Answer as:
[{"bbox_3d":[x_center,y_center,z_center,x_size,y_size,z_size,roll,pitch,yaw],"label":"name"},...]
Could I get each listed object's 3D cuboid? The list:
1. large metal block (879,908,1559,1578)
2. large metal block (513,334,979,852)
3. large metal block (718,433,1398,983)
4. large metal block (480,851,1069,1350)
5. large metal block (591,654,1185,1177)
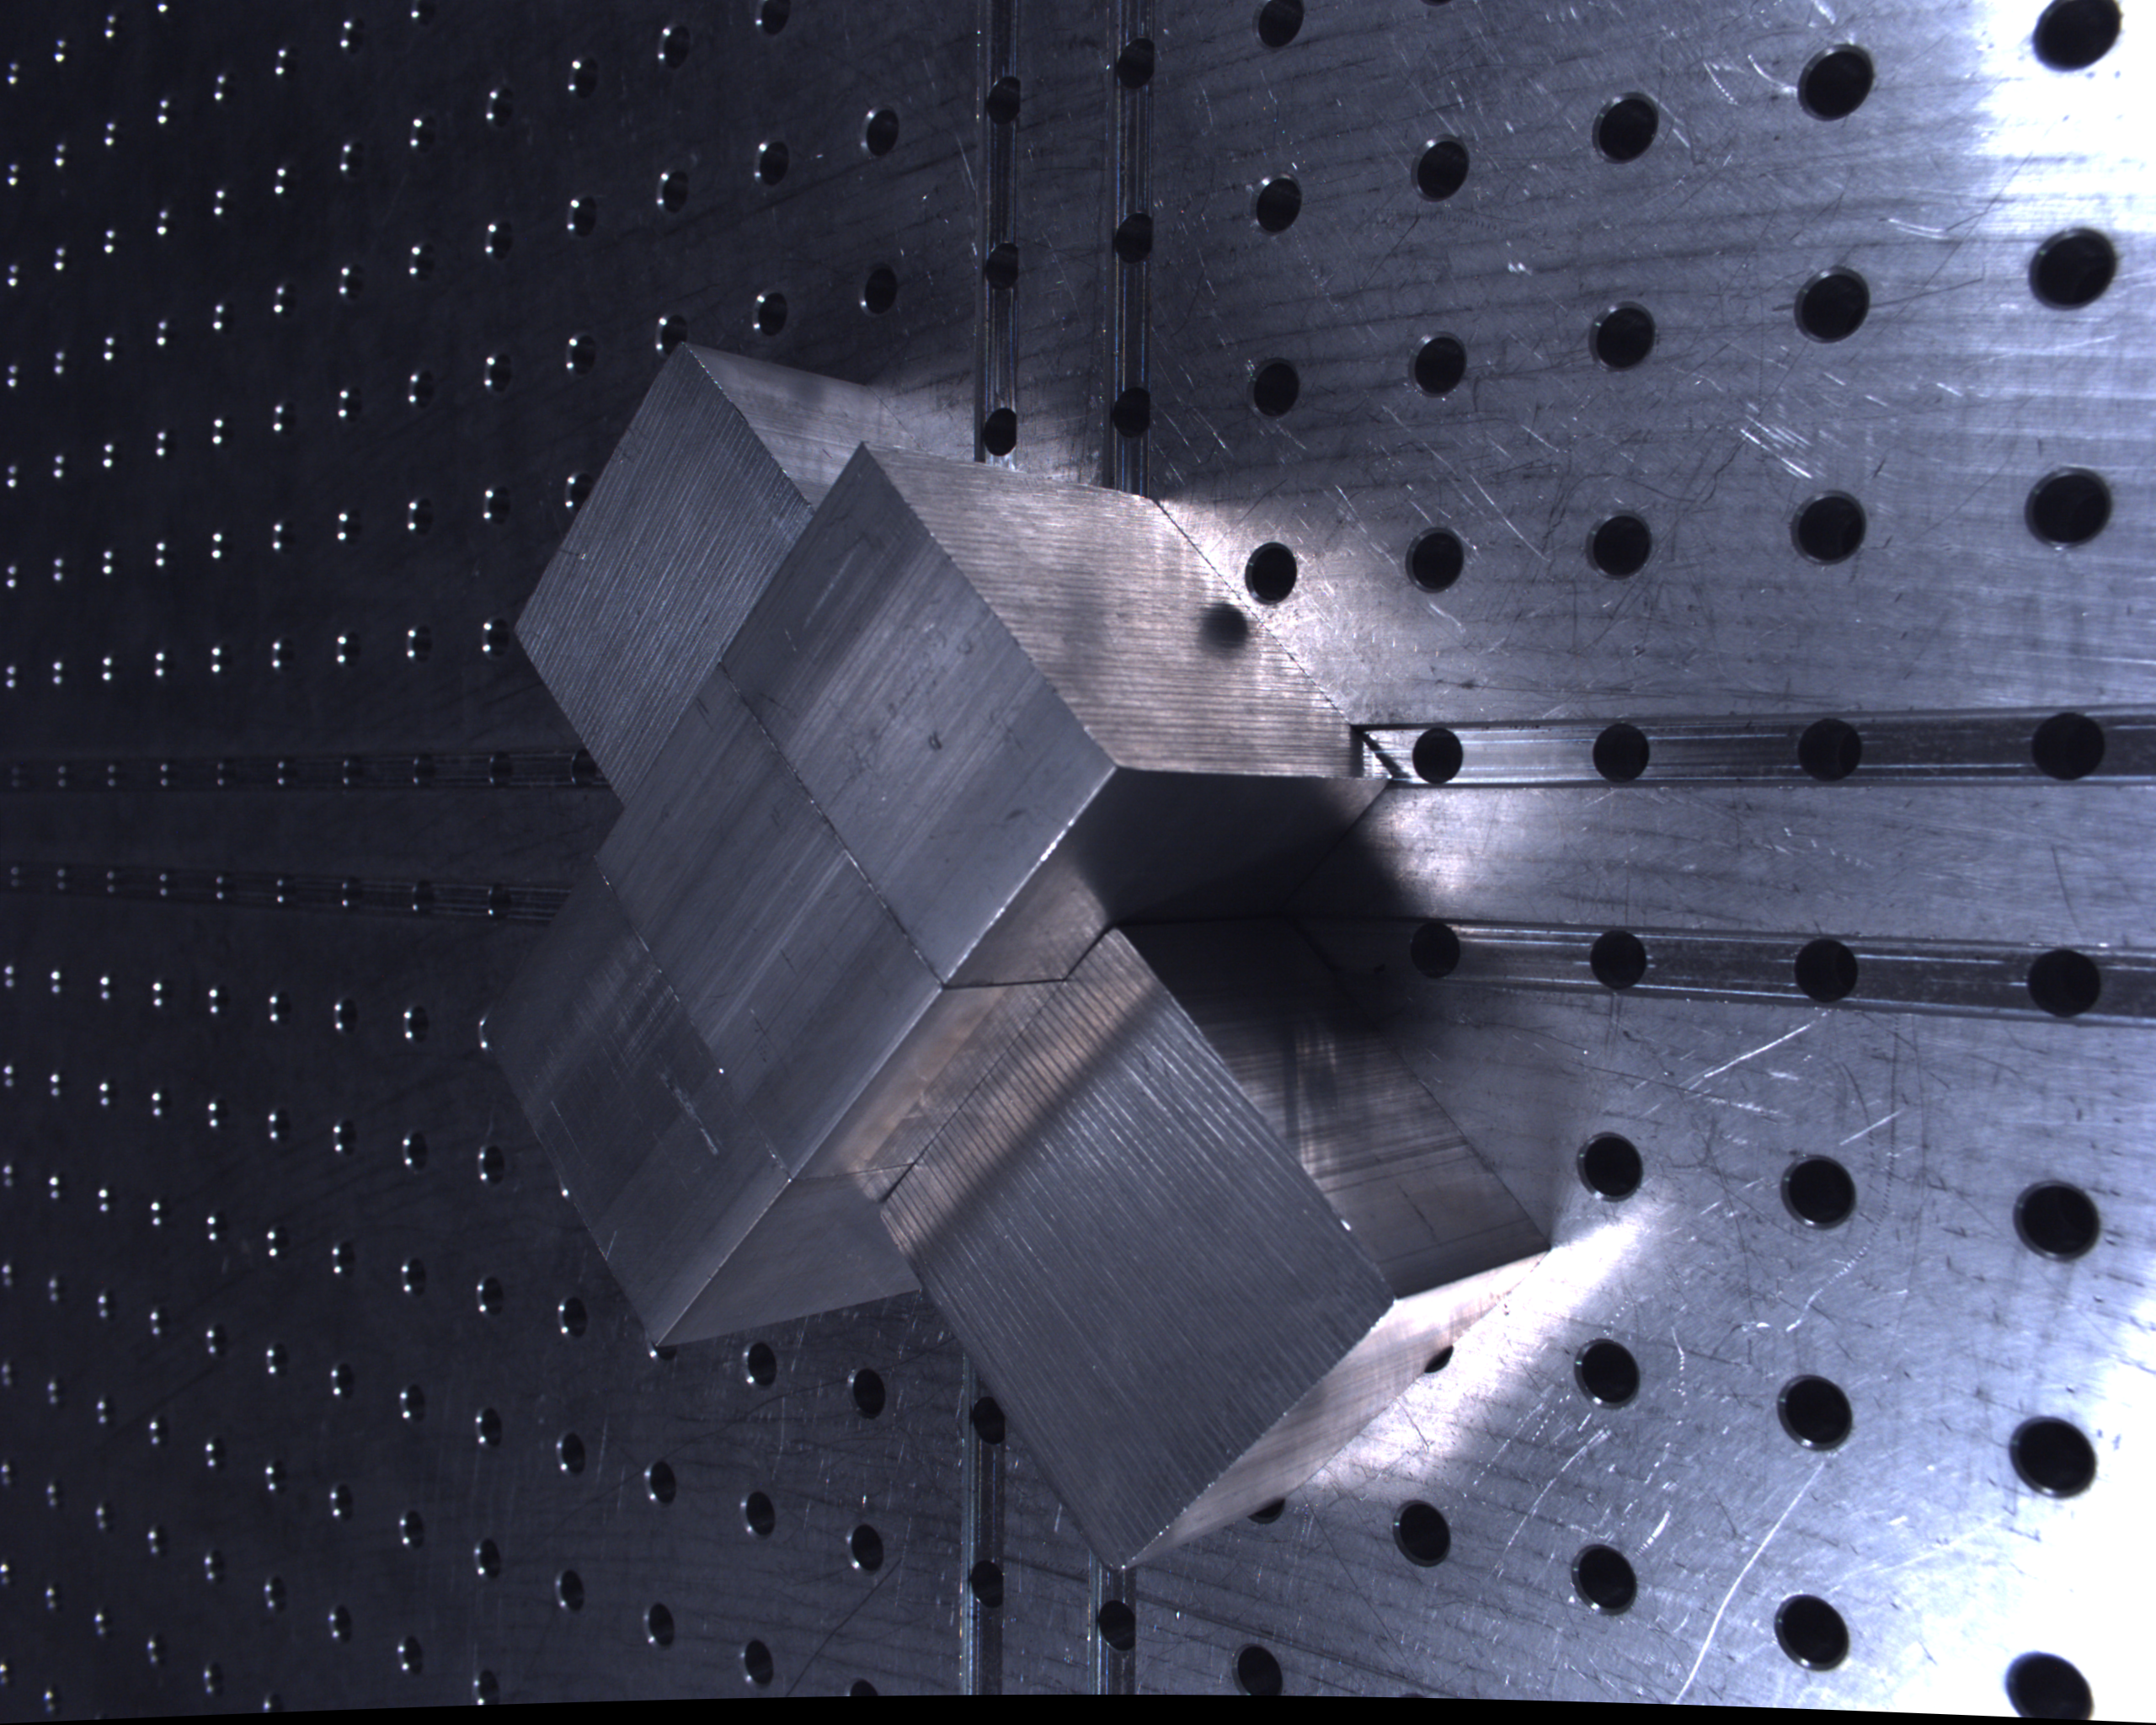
[{"bbox_3d":[0.022,0.065,0.373,0.080,0.050,0.080,-52,60,28],"label":"large metal block"},{"bbox_3d":[-0.064,-0.051,0.440,0.080,0.050,0.080,52,121,27],"label":"large metal block"},{"bbox_3d":[-0.003,-0.027,0.375,0.050,0.081,0.080,-52,60,27],"label":"large metal block"},{"bbox_3d":[-0.059,0.044,0.420,0.050,0.081,0.080,-52,60,27],"label":"large metal block"},{"bbox_3d":[-0.031,0.008,0.398,0.050,0.081,0.080,-52,60,27],"label":"large metal block"}]
